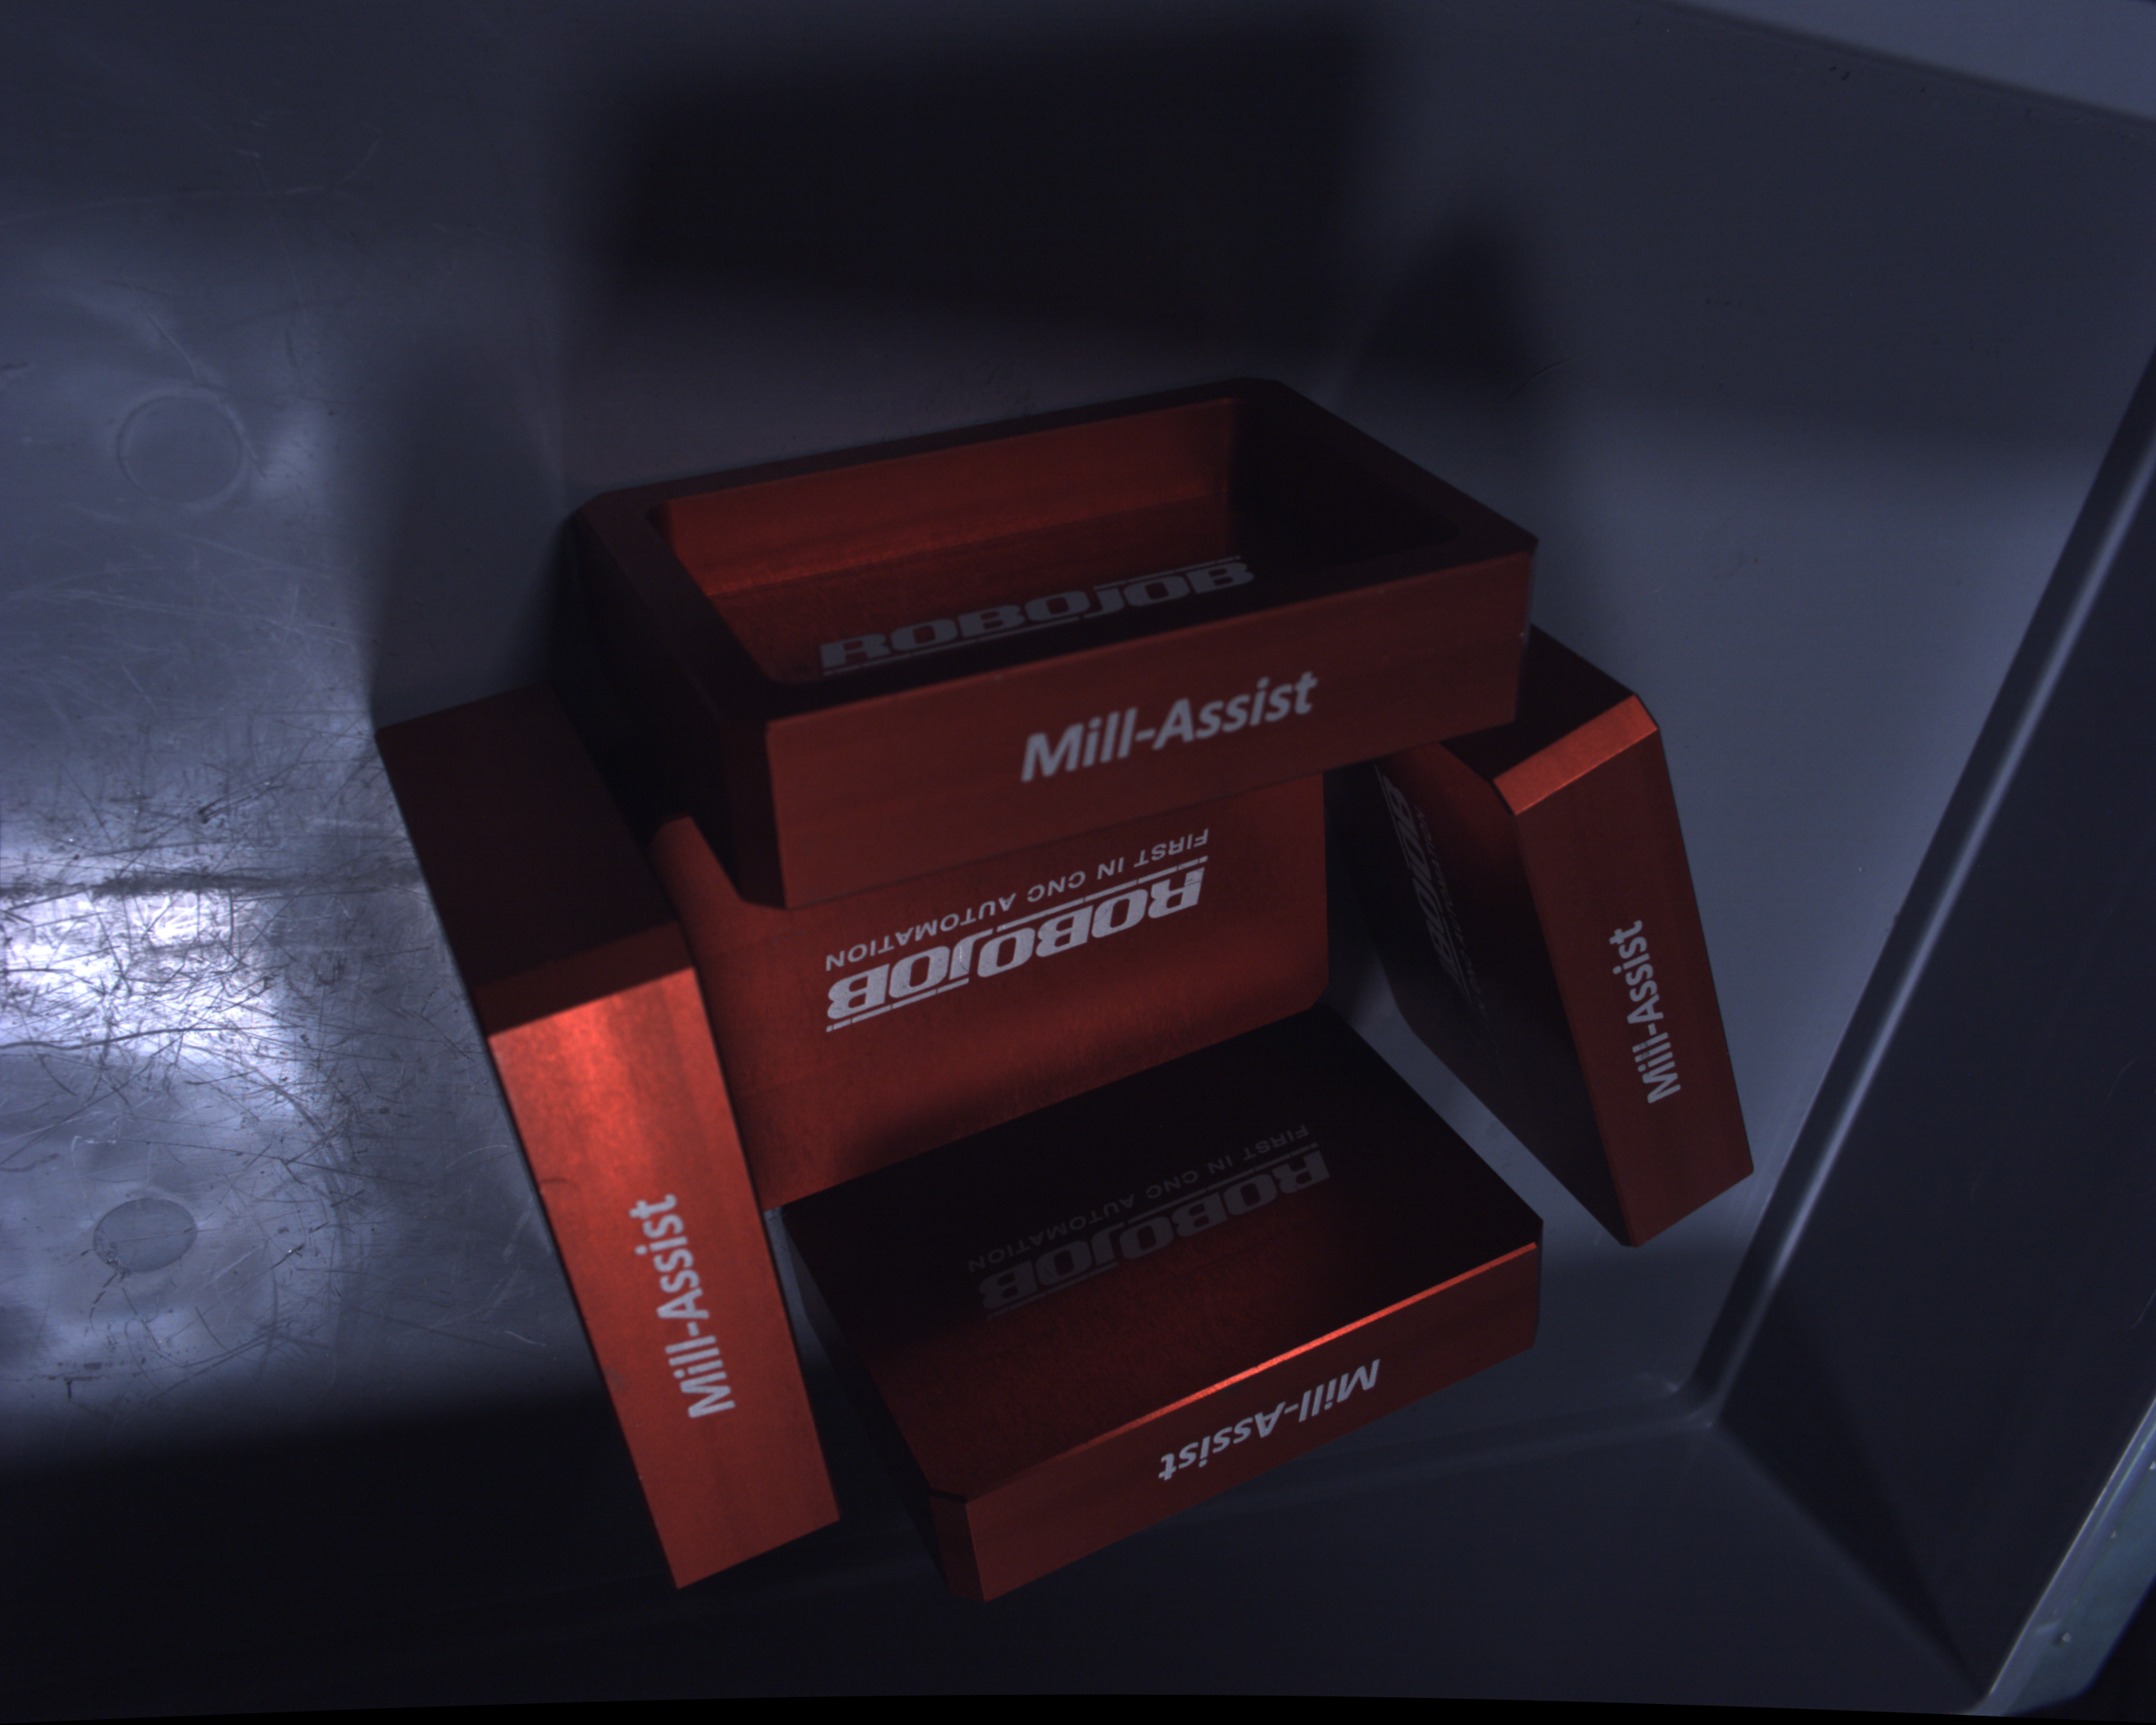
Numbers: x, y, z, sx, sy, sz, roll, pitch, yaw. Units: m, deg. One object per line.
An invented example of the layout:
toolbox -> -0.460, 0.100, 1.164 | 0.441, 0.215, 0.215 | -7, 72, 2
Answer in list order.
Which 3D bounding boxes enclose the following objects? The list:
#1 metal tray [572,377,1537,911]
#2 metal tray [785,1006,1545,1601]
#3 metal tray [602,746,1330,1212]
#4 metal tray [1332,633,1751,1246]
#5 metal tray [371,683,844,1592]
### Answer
metal tray -> -0.005, -0.041, 0.337 | 0.131, 0.090, 0.030 | -15, 125, -21
metal tray -> 0.017, 0.084, 0.427 | 0.131, 0.090, 0.030 | -19, 126, -18
metal tray -> -0.017, 0.005, 0.398 | 0.131, 0.030, 0.089 | -18, 126, -18
metal tray -> 0.085, 0.006, 0.417 | 0.030, 0.090, 0.130 | -31, 129, -8
metal tray -> -0.078, 0.046, 0.351 | 0.030, 0.090, 0.129 | -20, 126, -17
